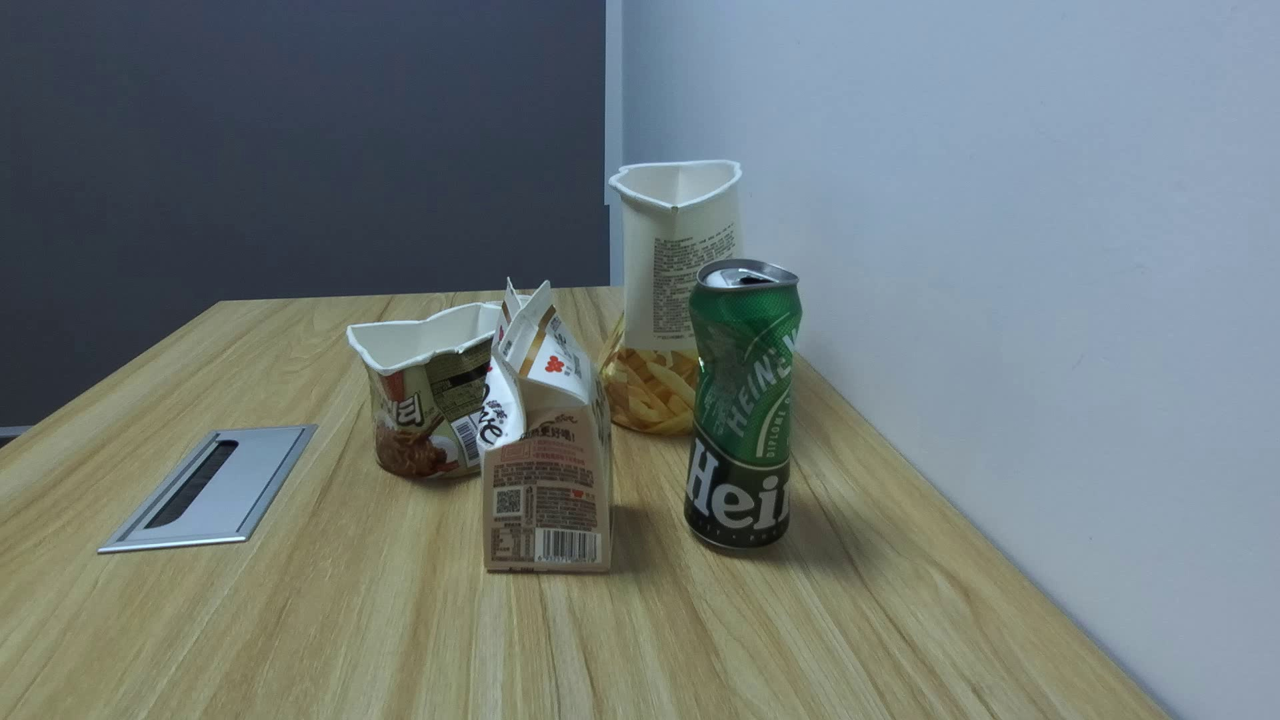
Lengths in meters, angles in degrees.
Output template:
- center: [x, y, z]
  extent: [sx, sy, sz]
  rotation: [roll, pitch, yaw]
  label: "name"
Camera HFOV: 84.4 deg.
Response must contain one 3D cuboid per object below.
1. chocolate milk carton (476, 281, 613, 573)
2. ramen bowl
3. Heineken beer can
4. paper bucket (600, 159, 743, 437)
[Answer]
- center: [-0.054, 0.035, 0.403]
  extent: [0.073, 0.155, 0.076]
  rotation: [-1, 22, 1]
  label: "chocolate milk carton"
- center: [-0.139, 0.019, 0.528]
  extent: [0.129, 0.093, 0.111]
  rotation: [-17, 27, -32]
  label: "ramen bowl"
- center: [0.059, 0.028, 0.410]
  extent: [0.066, 0.164, 0.078]
  rotation: [6, 24, 18]
  label: "Heineken beer can"
- center: [0.030, -0.057, 0.581]
  extent: [0.148, 0.199, 0.217]
  rotation: [-10, 22, -25]
  label: "paper bucket"
